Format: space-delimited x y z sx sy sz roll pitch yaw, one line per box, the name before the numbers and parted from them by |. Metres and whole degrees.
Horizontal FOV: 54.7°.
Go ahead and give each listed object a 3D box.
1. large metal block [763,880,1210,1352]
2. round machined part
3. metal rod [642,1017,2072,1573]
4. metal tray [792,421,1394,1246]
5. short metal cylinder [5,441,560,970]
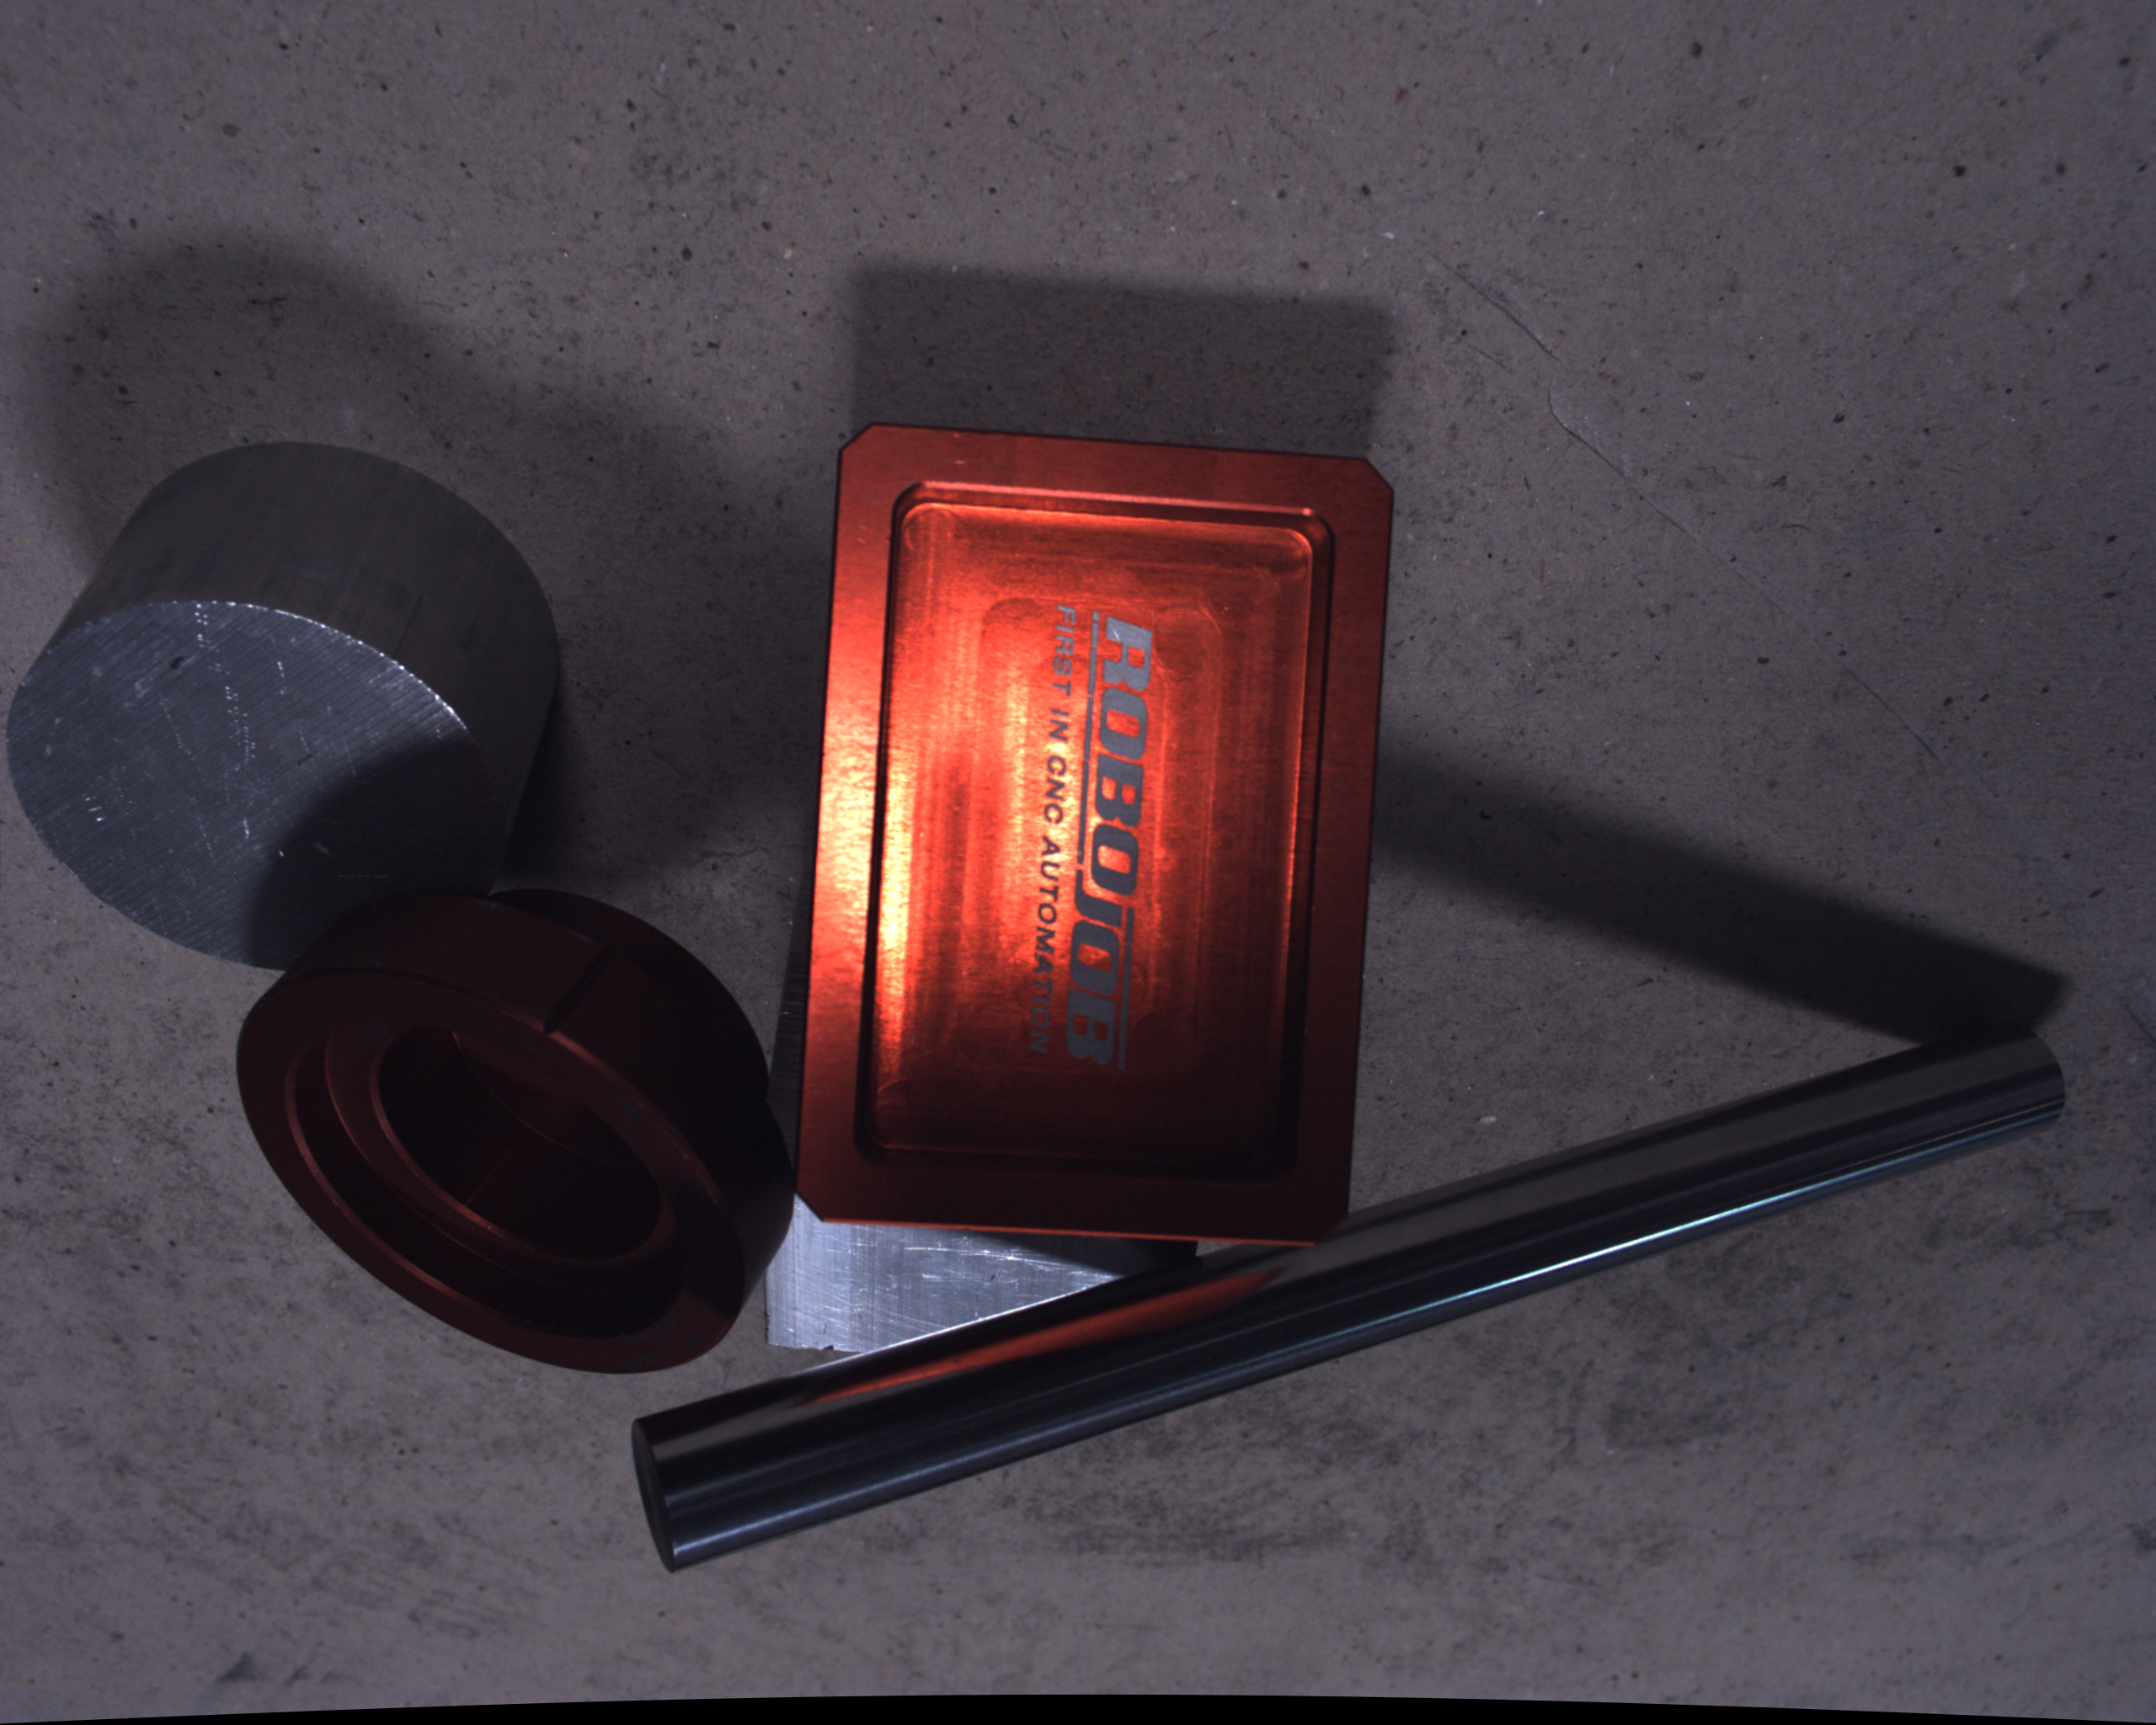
large metal block | -0.018 0.051 0.415 0.081 0.080 0.050 4 130 -4
round machined part | -0.096 0.043 0.375 0.098 0.042 0.097 12 131 15
metal rod | 0.069 0.074 0.396 0.303 0.025 0.025 -12 134 -23
metal tray | 0.002 -0.004 0.352 0.091 0.030 0.129 4 90 -4
short metal cylinder | -0.137 -0.027 0.368 0.081 0.050 0.079 0 130 0
